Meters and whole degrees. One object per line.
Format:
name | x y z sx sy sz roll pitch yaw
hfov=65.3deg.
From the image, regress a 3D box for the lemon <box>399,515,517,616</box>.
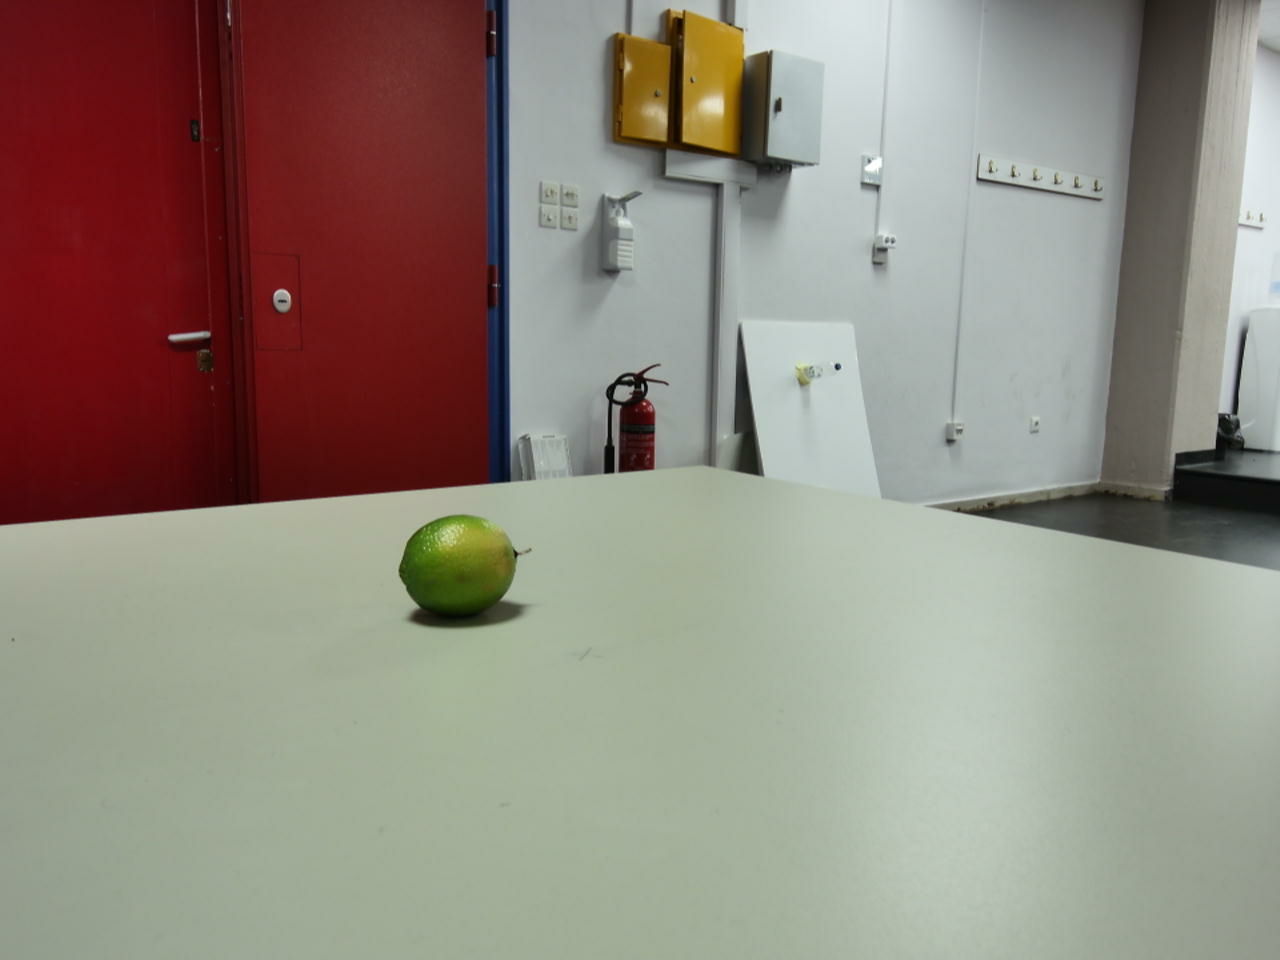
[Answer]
lemon | -0.091 0.043 0.505 0.055 0.050 0.054 1 7 13
